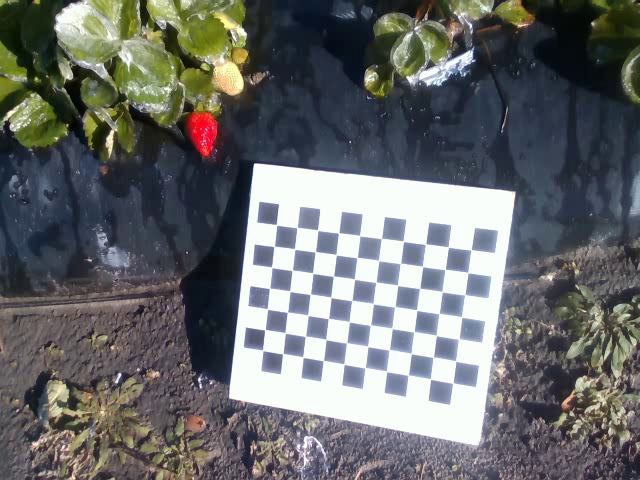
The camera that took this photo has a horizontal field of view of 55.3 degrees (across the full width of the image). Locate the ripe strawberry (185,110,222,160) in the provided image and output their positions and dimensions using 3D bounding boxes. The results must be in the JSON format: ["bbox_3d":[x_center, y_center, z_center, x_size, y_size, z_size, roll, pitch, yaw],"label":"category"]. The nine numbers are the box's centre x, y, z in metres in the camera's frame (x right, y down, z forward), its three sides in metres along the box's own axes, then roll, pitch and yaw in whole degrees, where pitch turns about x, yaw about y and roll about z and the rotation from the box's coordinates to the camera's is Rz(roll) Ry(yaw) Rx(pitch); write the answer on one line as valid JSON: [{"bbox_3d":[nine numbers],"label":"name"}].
[{"bbox_3d":[-0.137,-0.119,0.689,0.041,0.052,0.040,-10,-7,9],"label":"ripe strawberry"}]
